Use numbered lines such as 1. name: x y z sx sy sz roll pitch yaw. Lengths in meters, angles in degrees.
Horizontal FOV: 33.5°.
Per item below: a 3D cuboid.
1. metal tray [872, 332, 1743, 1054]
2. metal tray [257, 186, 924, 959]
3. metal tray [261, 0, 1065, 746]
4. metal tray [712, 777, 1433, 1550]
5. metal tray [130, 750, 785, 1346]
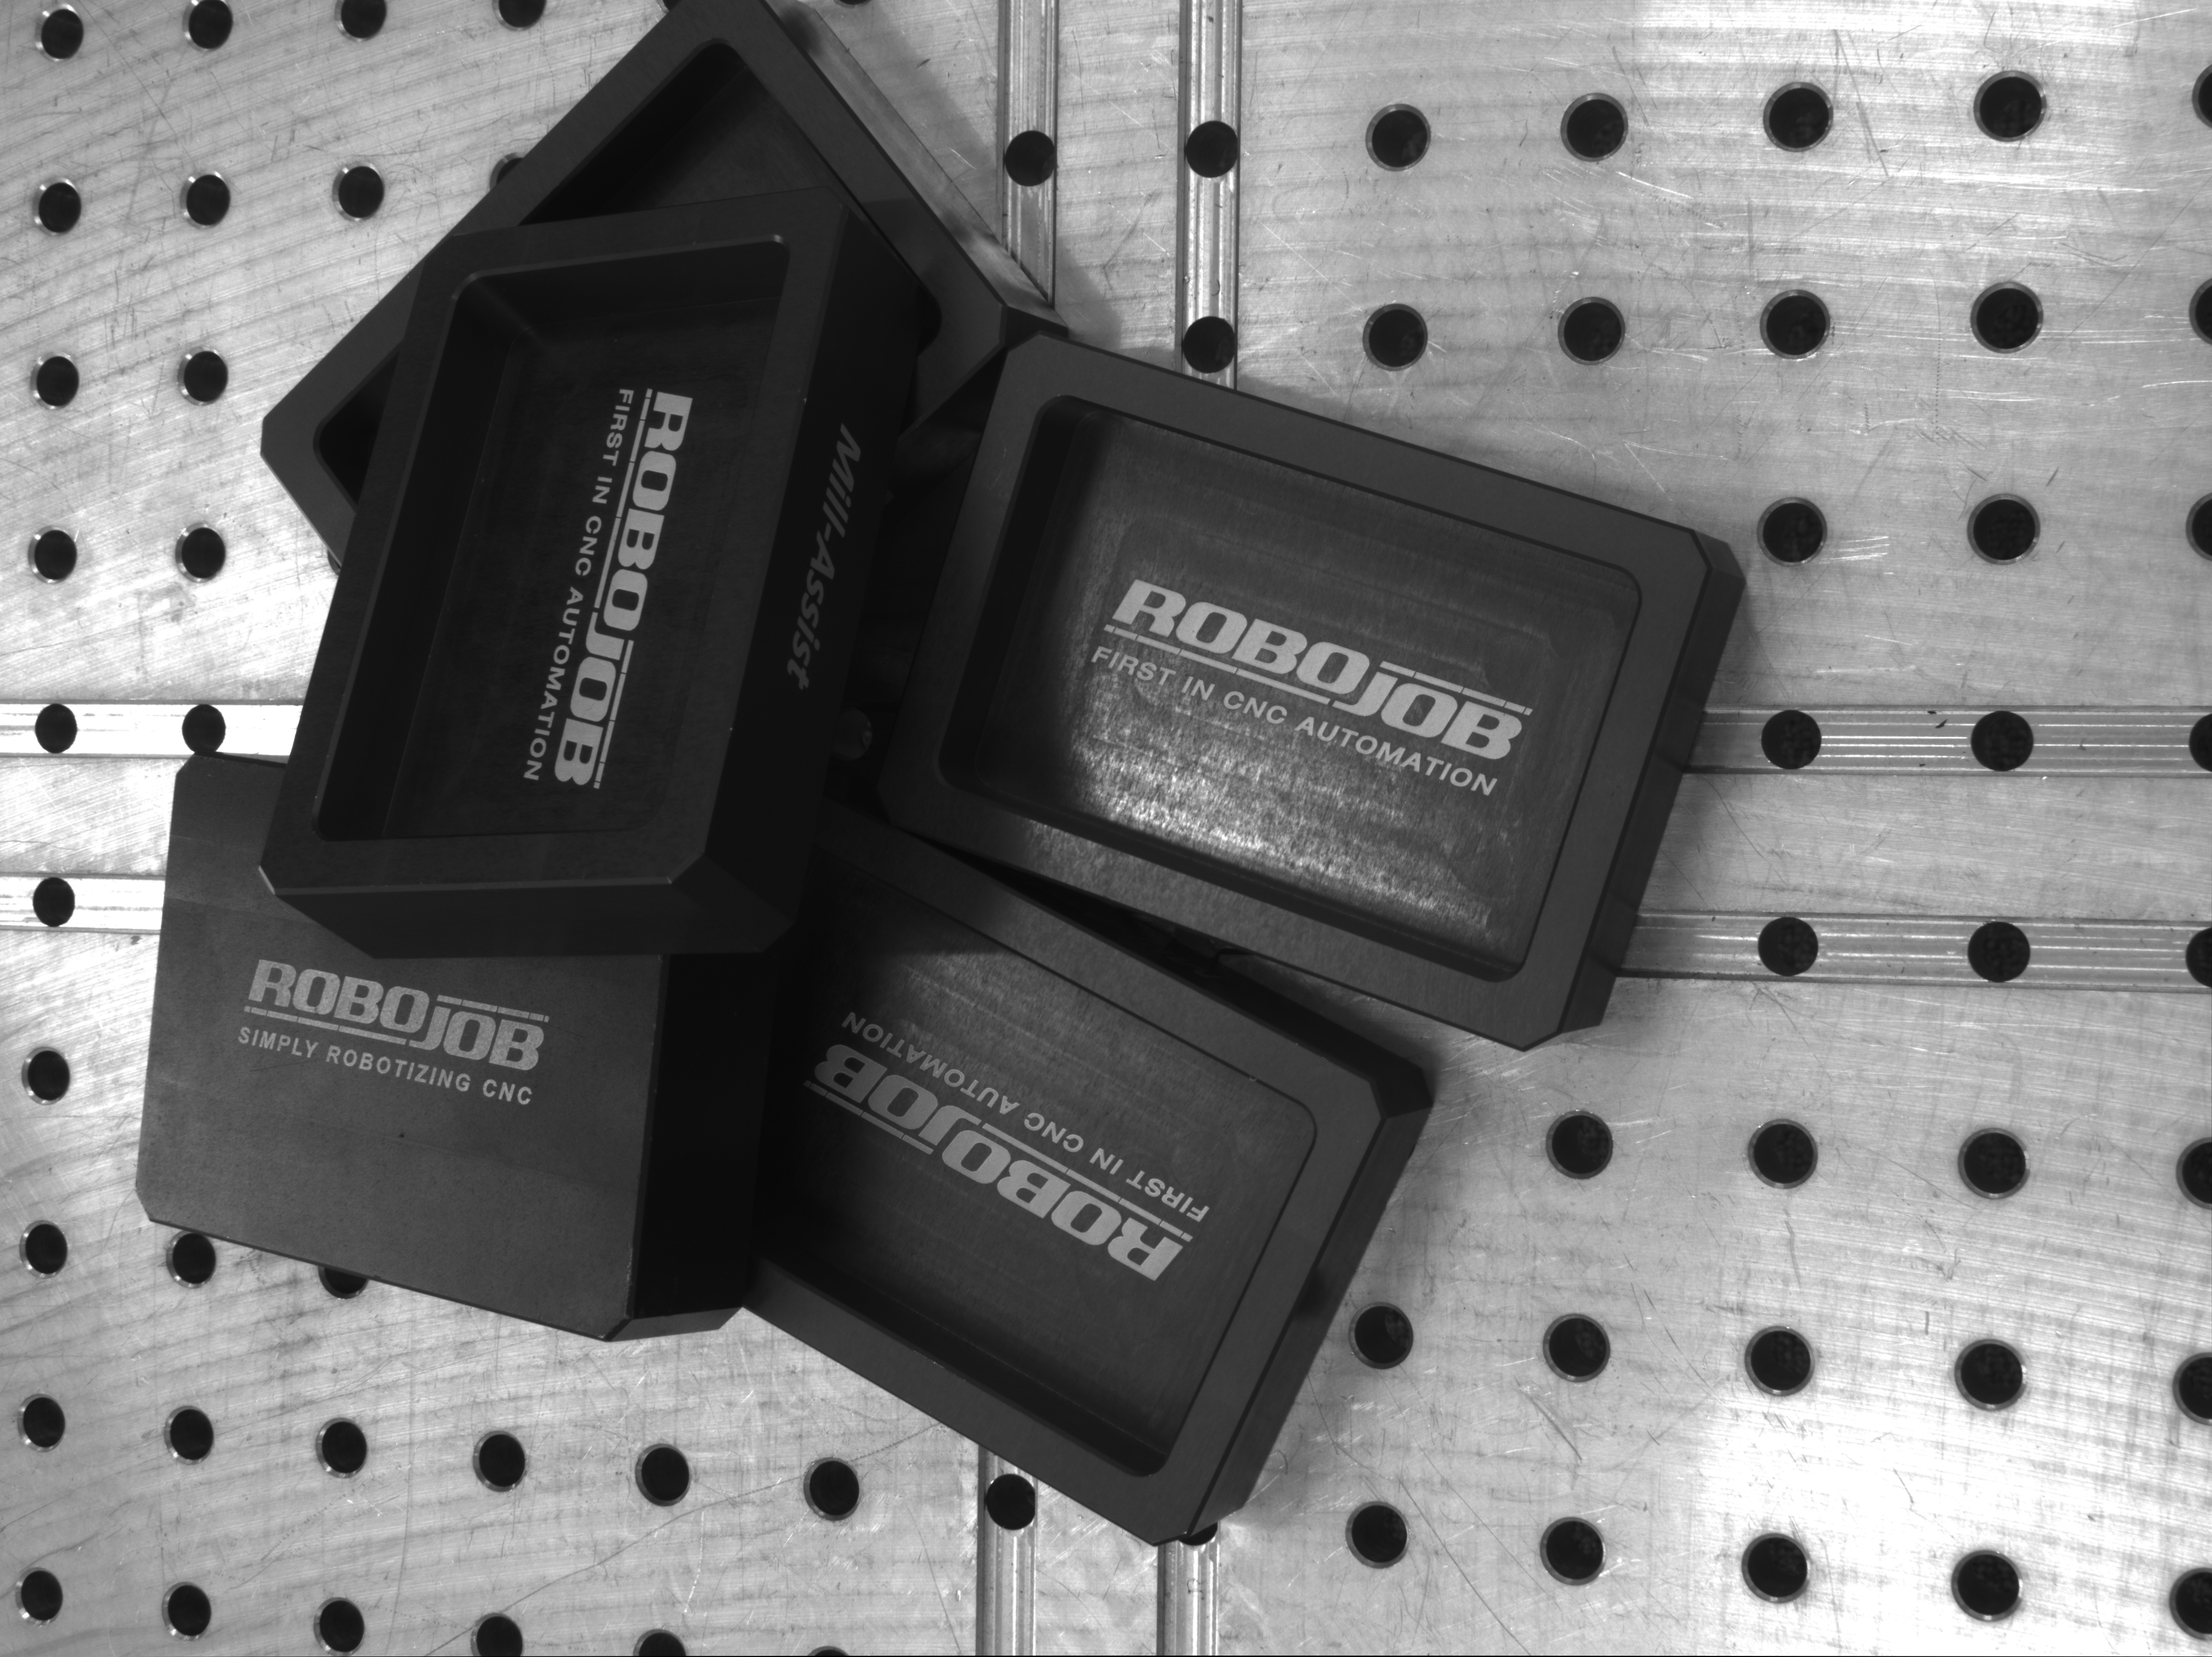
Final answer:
1. metal tray: 0.033 -0.024 0.633 0.130 0.030 0.090 19 97 19
2. metal tray: -0.088 -0.044 0.633 0.090 0.030 0.130 -2 65 27
3. metal tray: -0.083 -0.080 0.676 0.130 0.030 0.090 -41 76 15
4. metal tray: -0.019 0.057 0.653 0.130 0.030 0.090 27 99 18
5. metal tray: -0.120 0.037 0.672 0.130 0.030 0.090 8 93 34
